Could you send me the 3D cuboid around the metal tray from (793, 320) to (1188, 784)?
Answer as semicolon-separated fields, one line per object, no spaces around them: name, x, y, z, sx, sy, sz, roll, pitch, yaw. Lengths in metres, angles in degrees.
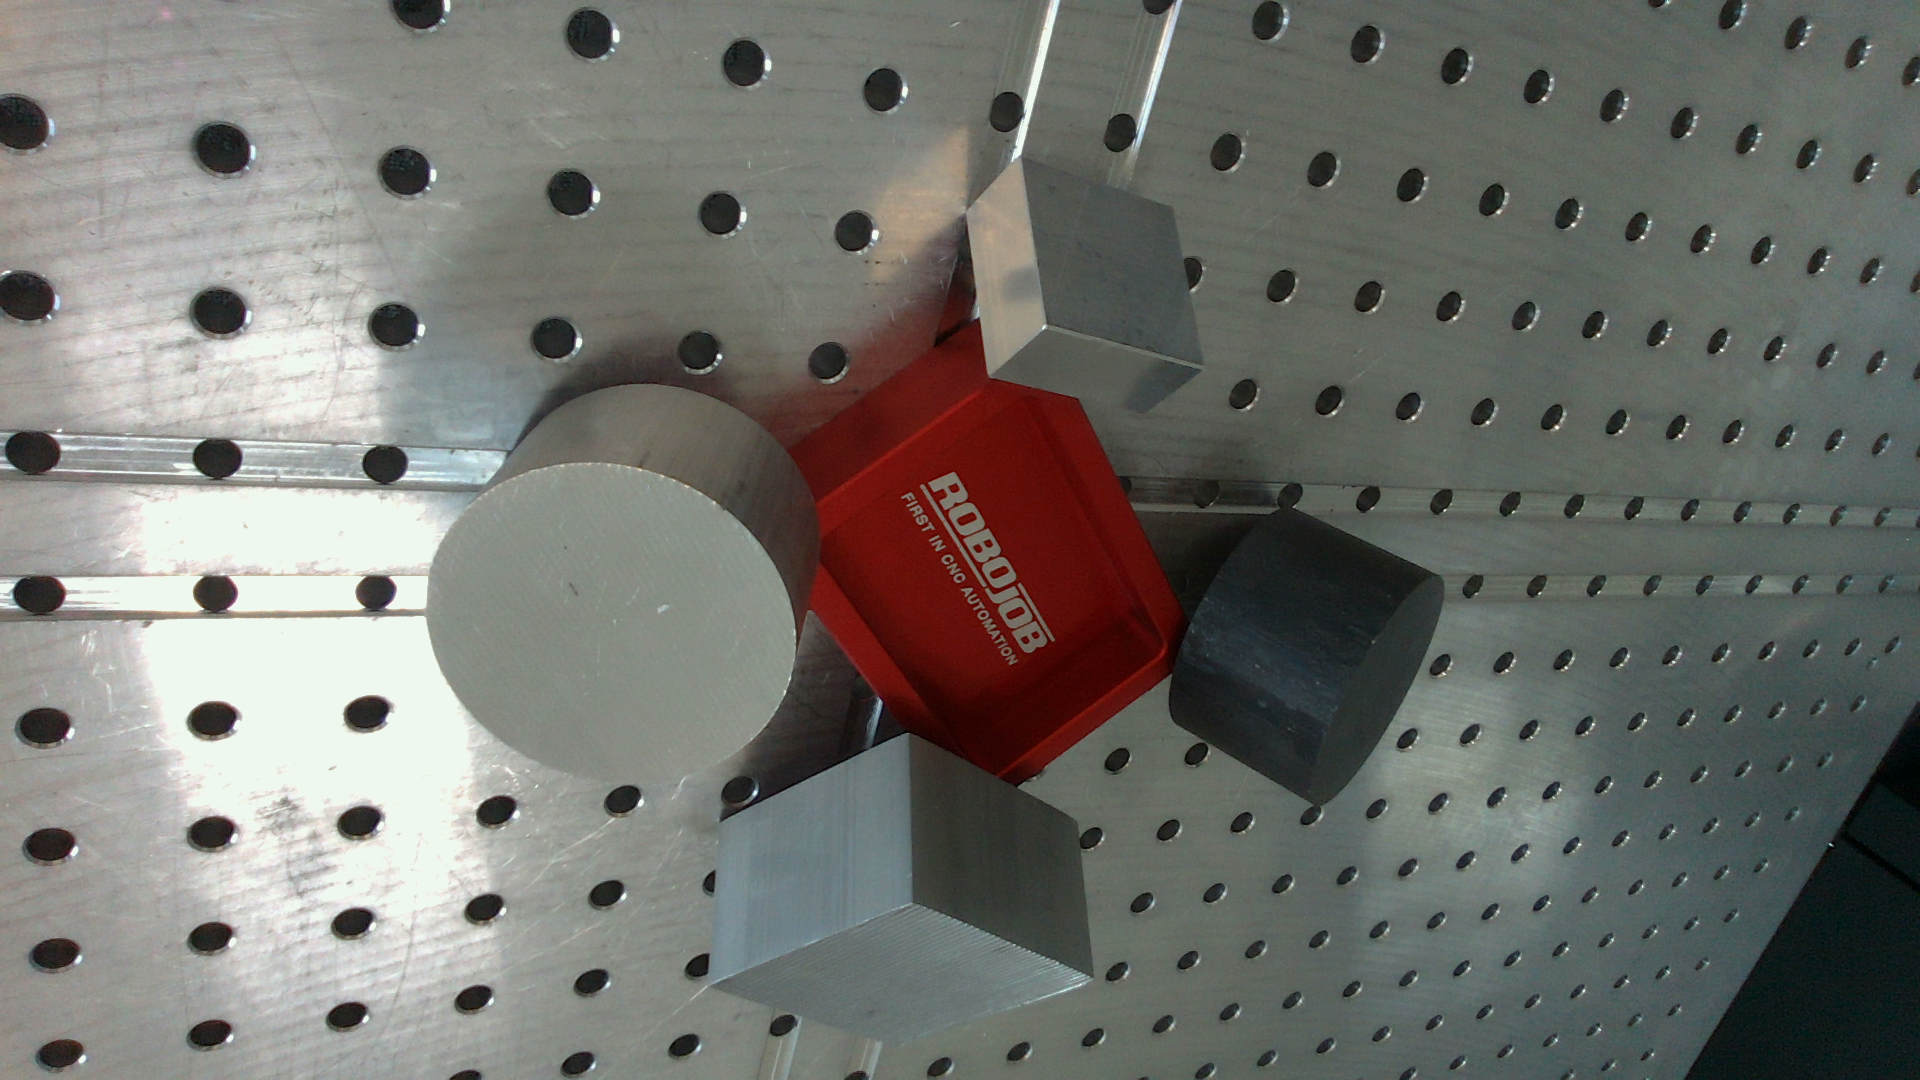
metal tray;0.008;0.011;0.399;0.090;0.030;0.130;-36;129;-5

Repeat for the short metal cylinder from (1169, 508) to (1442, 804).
short metal cylinder;0.110;0.036;0.438;0.080;0.050;0.080;-38;144;-34

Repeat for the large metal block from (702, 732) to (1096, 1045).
large metal block;-0.018;0.107;0.410;0.080;0.050;0.080;-28;136;29

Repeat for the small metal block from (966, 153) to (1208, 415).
small metal block;0.032;-0.064;0.350;0.050;0.050;0.025;9;152;-32

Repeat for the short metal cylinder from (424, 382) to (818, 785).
short metal cylinder;-0.076;0.009;0.321;0.080;0.050;0.080;0;116;0
